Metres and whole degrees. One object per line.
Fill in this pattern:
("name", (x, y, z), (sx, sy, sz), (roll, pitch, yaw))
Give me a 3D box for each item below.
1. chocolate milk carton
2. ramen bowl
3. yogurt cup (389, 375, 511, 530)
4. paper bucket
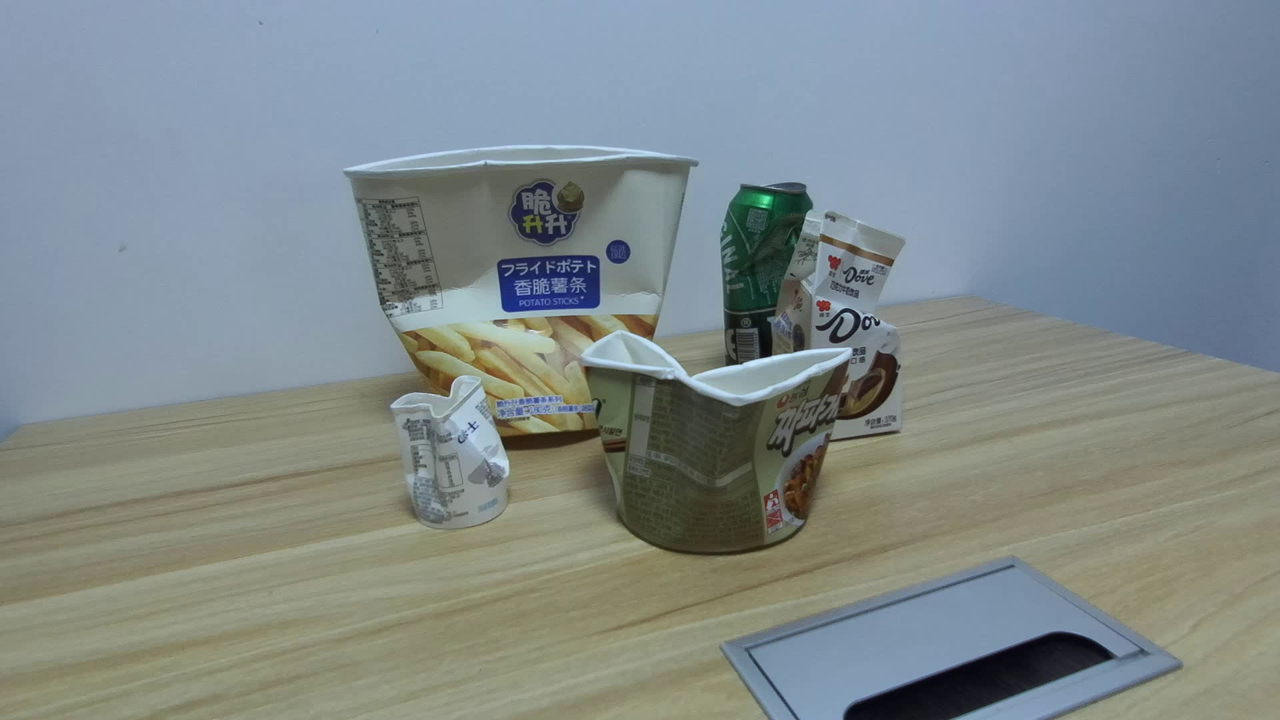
("chocolate milk carton", (0.139, -0.029, 0.492), (0.076, 0.155, 0.073), (-5, 21, -10))
("ramen bowl", (0.035, 0.037, 0.397), (0.127, 0.093, 0.112), (14, 25, 39))
("yogurt cup", (-0.107, 0.053, 0.408), (0.055, 0.072, 0.055), (10, 22, 37))
("paper bucket", (-0.077, -0.053, 0.523), (0.219, 0.199, 0.147), (-15, 23, -35))
